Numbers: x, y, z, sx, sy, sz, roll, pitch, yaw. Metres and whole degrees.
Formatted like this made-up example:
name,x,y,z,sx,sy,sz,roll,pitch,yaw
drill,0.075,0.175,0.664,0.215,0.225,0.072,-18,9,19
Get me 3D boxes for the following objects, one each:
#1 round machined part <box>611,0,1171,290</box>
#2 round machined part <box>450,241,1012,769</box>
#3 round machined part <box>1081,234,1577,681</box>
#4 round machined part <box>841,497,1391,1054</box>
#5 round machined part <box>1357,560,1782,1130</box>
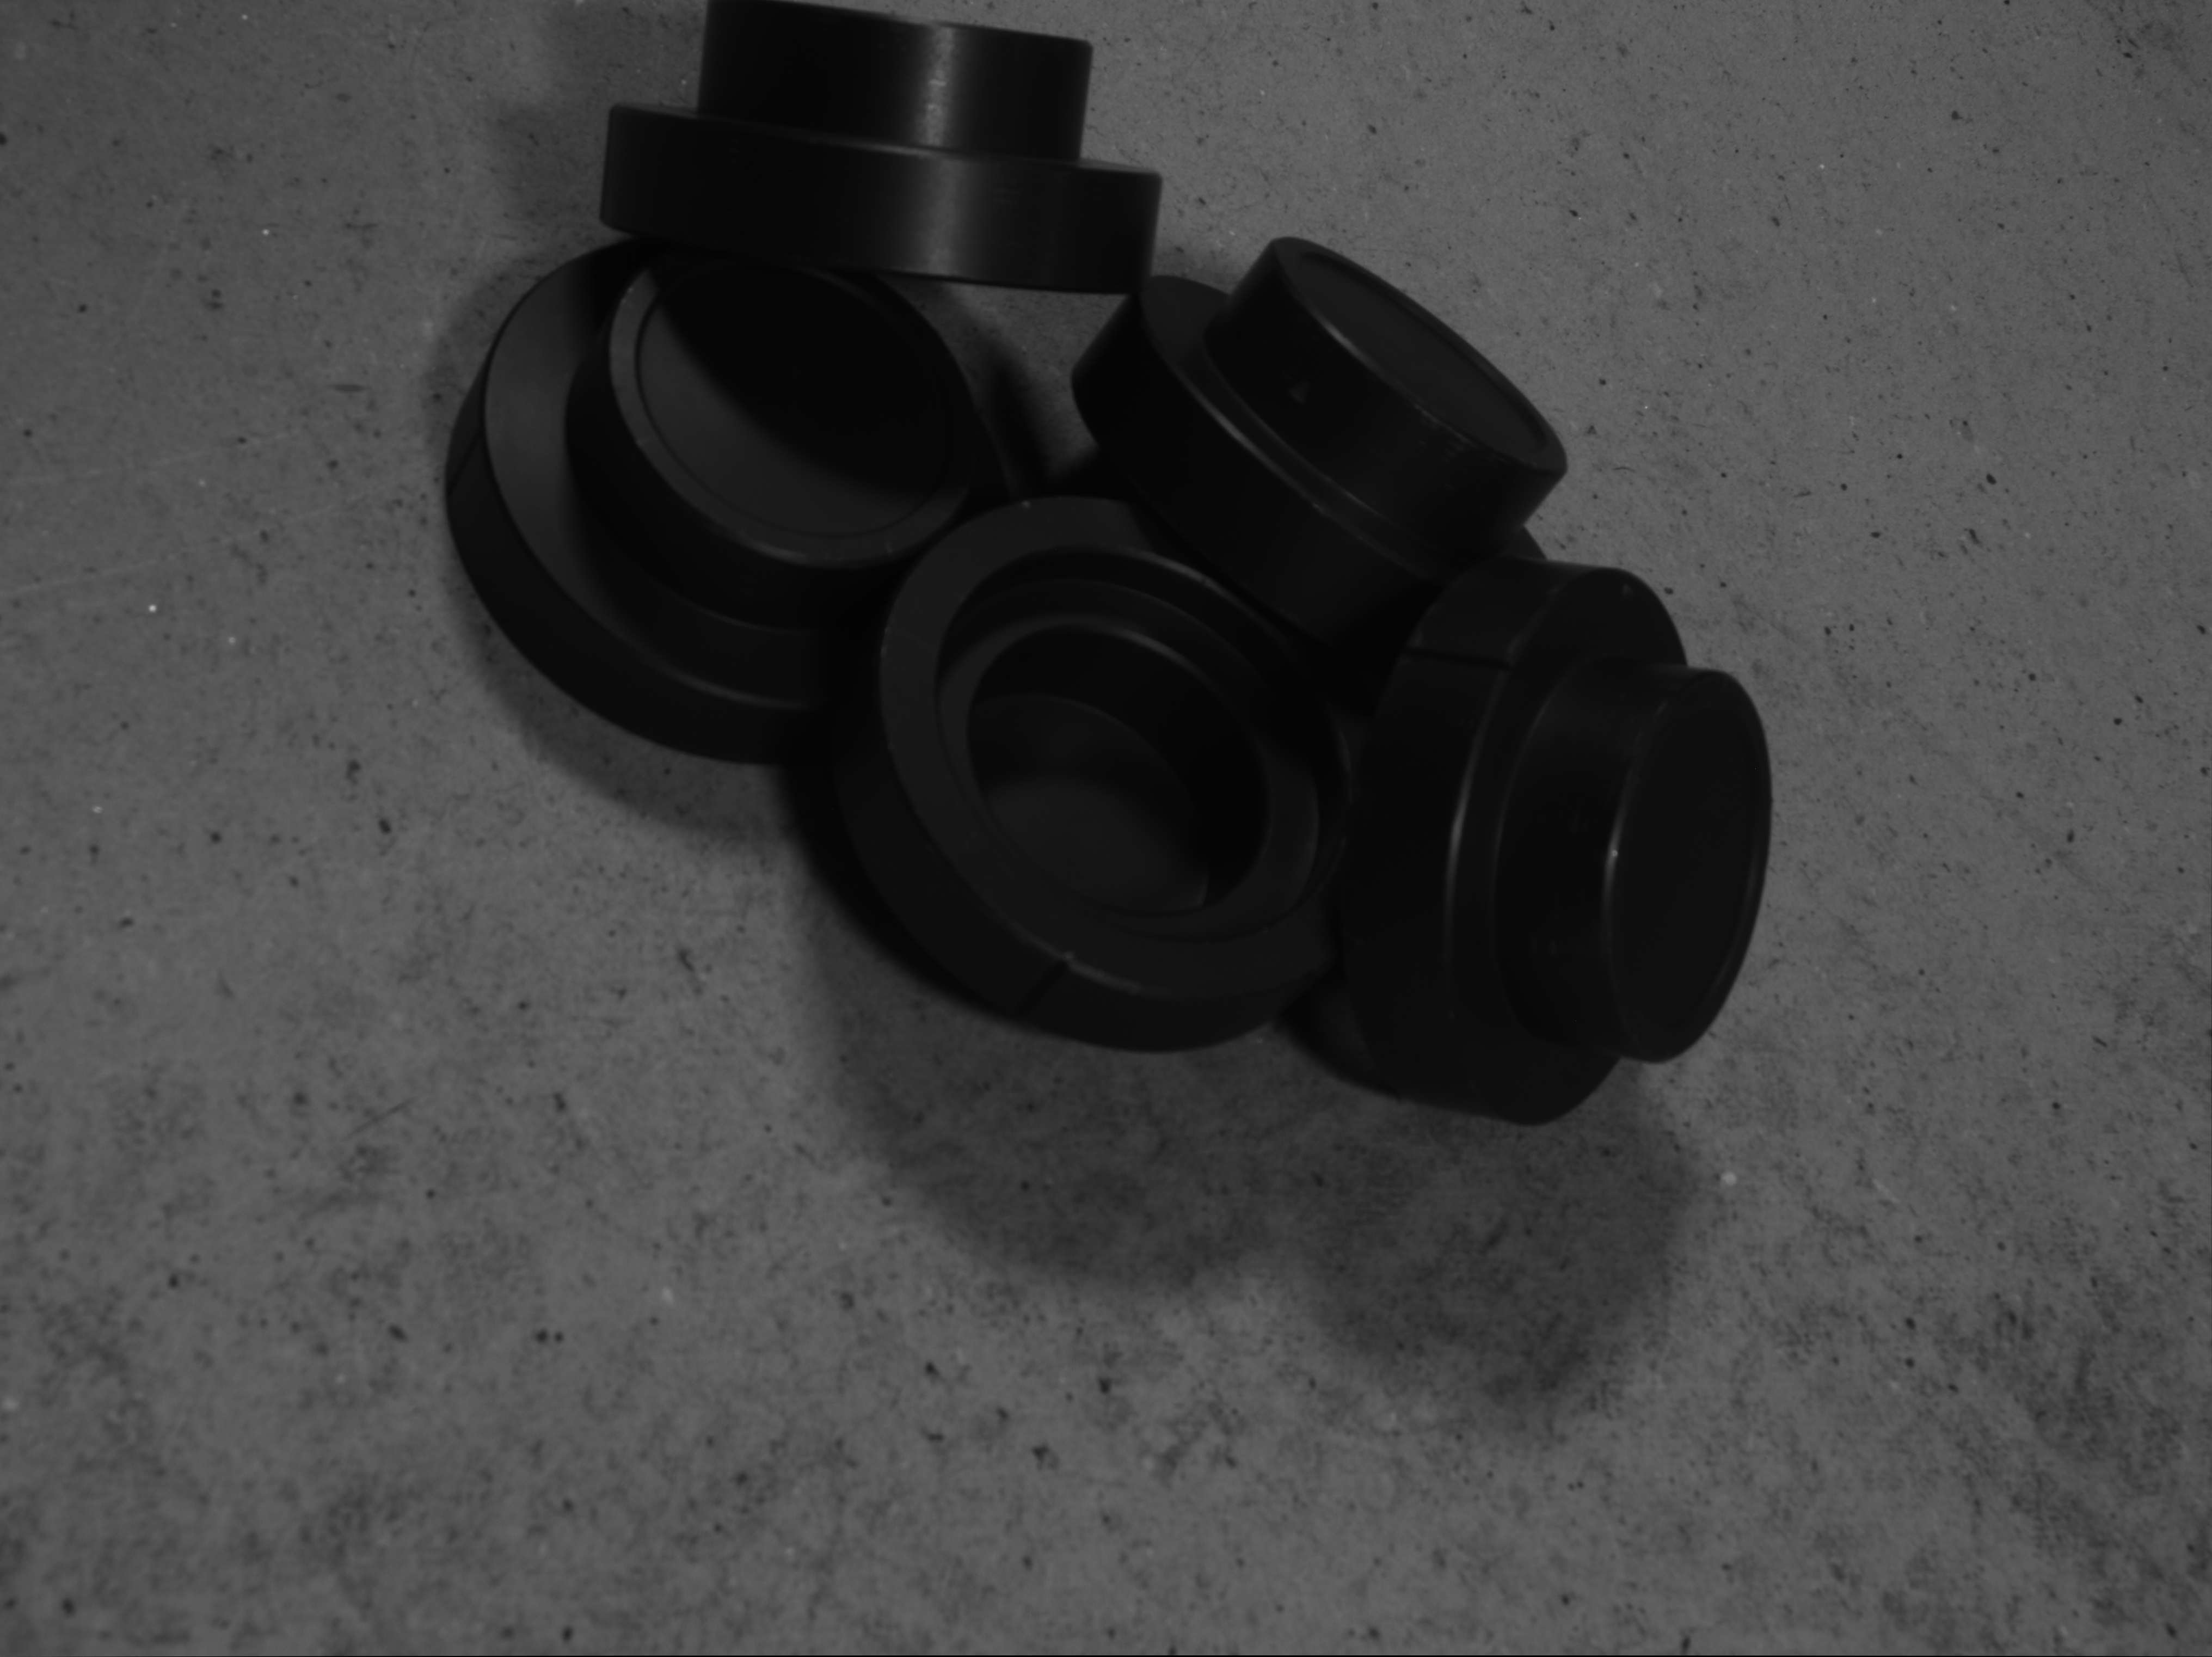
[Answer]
name,x,y,z,sx,sy,sz,roll,pitch,yaw
round machined part,-0.037,-0.123,0.647,0.098,0.098,0.042,1,103,-28
round machined part,-0.061,-0.063,0.637,0.098,0.042,0.098,14,56,-21
round machined part,0.047,-0.071,0.670,0.098,0.042,0.098,33,21,-14
round machined part,0.000,-0.005,0.632,0.098,0.042,0.098,14,56,-21
round machined part,0.085,0.005,0.636,0.042,0.098,0.098,12,43,30
